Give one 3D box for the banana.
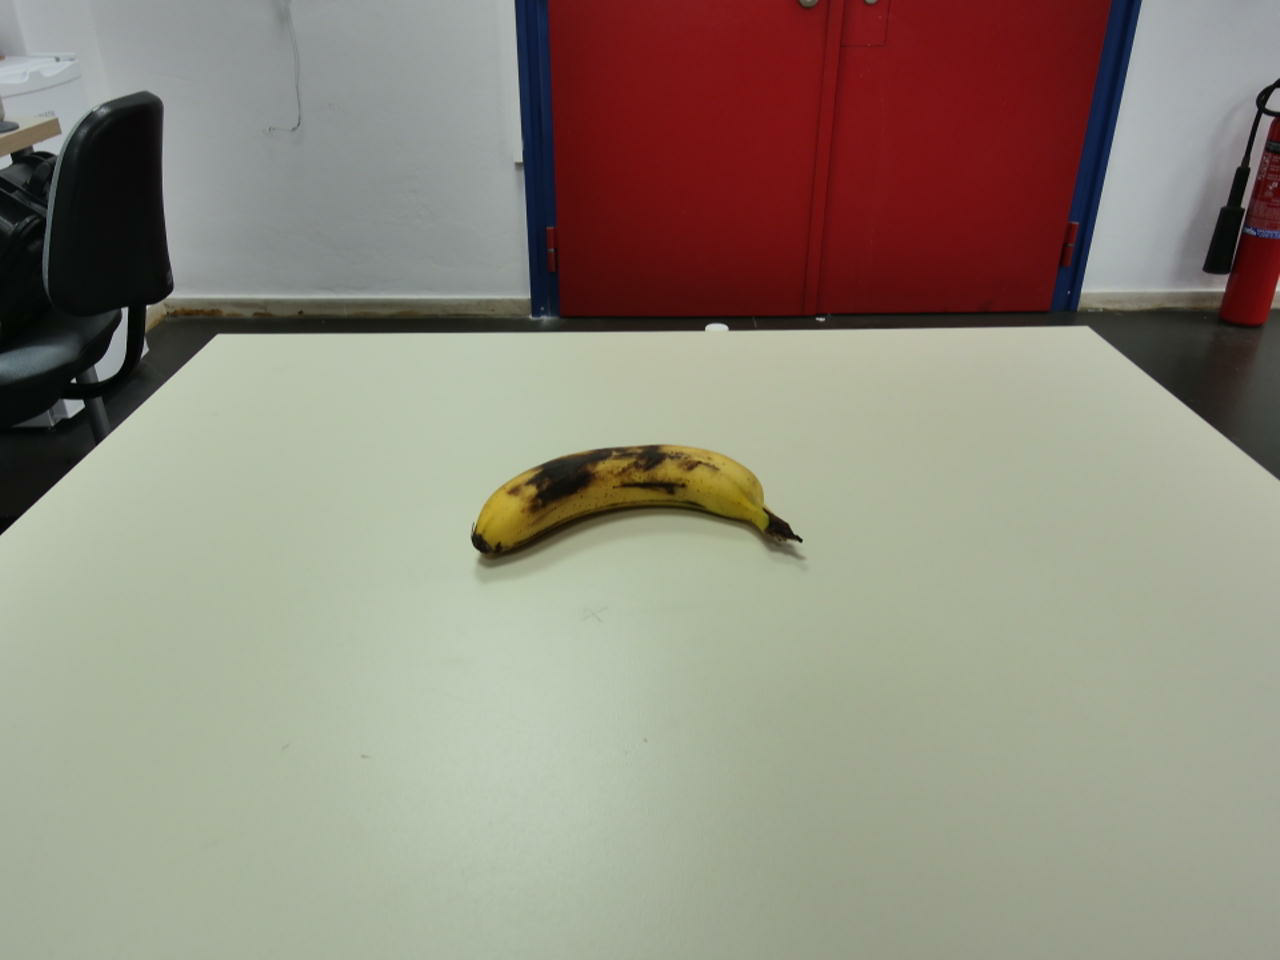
[{"bbox_3d":[-0.005,0.010,0.607,0.187,0.039,0.094,-1,26,-2],"label":"banana"}]
